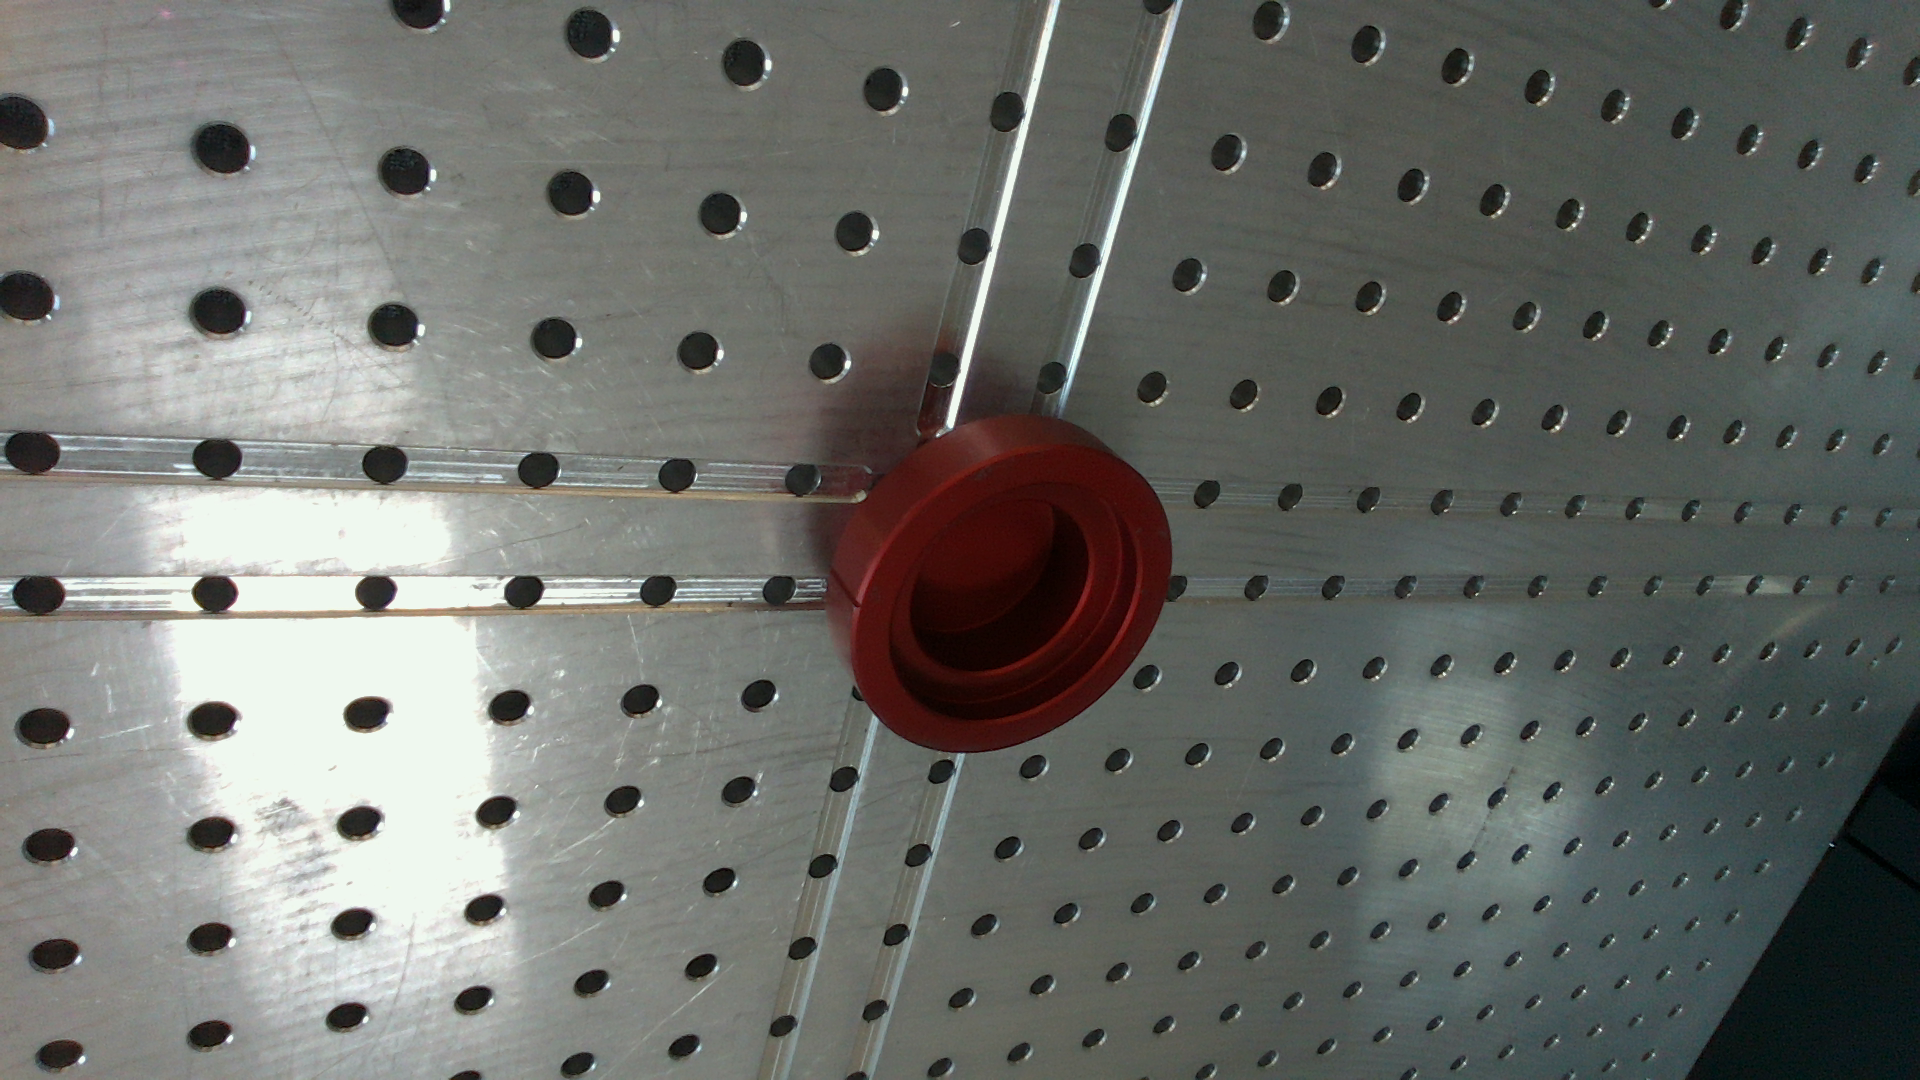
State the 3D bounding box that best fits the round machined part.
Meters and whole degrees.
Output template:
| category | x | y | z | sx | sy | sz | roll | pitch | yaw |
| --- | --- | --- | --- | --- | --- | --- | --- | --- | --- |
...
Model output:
| category | x | y | z | sx | sy | sz | roll | pitch | yaw |
| --- | --- | --- | --- | --- | --- | --- | --- | --- | --- |
| round machined part | 0.008 | 0.009 | 0.390 | 0.098 | 0.042 | 0.098 | -14 | 124 | -21 |
